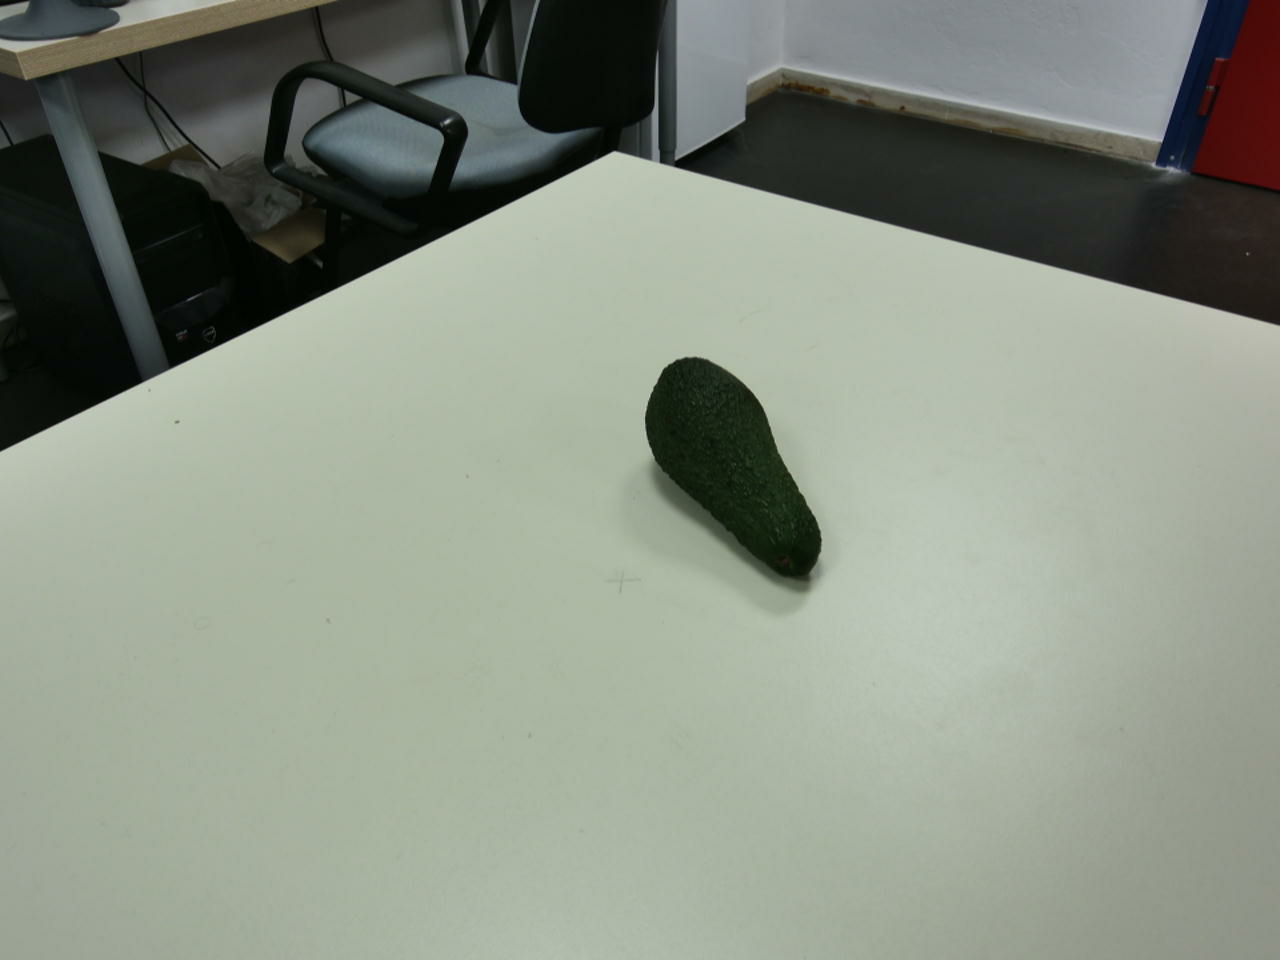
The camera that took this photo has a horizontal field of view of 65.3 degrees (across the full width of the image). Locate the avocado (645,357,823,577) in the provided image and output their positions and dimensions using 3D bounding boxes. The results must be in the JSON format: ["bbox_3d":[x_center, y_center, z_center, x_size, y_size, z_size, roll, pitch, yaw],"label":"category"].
[{"bbox_3d":[0.052,-0.014,0.516,0.063,0.067,0.141,-25,43,-28],"label":"avocado"}]
